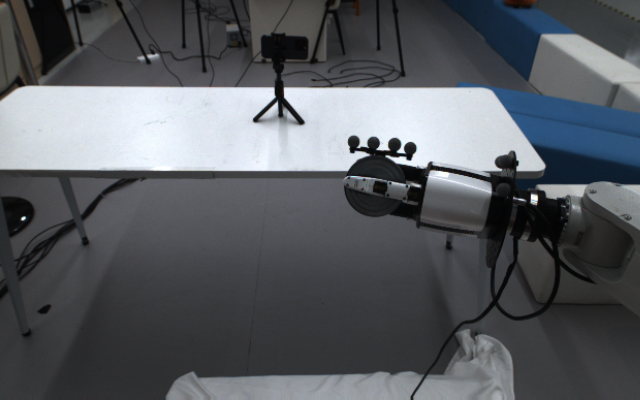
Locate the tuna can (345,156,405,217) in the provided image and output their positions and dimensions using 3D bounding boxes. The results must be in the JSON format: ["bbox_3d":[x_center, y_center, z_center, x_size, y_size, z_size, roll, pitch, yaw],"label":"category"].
[{"bbox_3d":[0.079,-0.023,0.680,0.085,0.085,0.034,11,2,12],"label":"tuna can"}]
